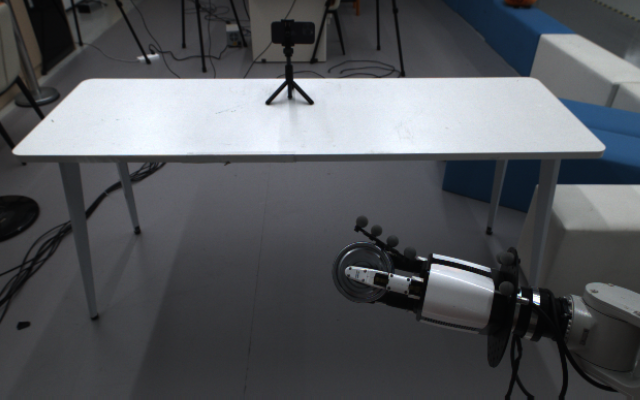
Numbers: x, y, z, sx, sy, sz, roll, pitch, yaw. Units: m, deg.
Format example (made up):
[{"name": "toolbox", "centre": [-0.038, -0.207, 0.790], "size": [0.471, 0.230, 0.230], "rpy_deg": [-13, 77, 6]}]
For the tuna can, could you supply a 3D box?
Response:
[{"name": "tuna can", "centre": [0.065, 0.108, 0.676], "size": [0.085, 0.085, 0.034], "rpy_deg": [12, -4, 14]}]
